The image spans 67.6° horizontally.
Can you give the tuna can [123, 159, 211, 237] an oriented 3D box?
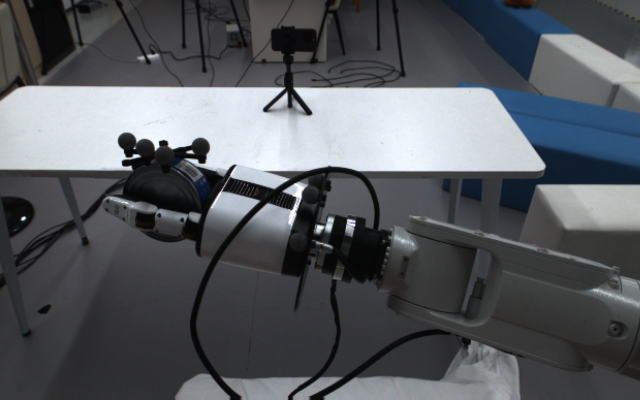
[{"bbox_3d":[-0.155,-0.001,0.504,0.085,0.085,0.034,9,23,9],"label":"tuna can"}]
